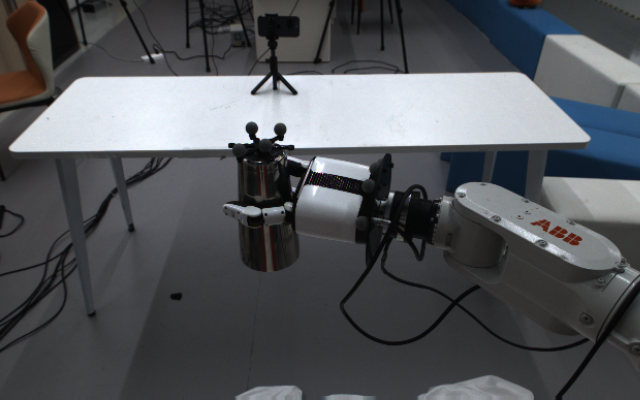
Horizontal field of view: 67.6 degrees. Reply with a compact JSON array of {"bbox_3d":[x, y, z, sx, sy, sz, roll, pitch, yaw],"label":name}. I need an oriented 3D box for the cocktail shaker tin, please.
[{"bbox_3d":[-0.075,0.007,0.693,0.093,0.170,0.093,0,33,0],"label":"cocktail shaker tin"}]
